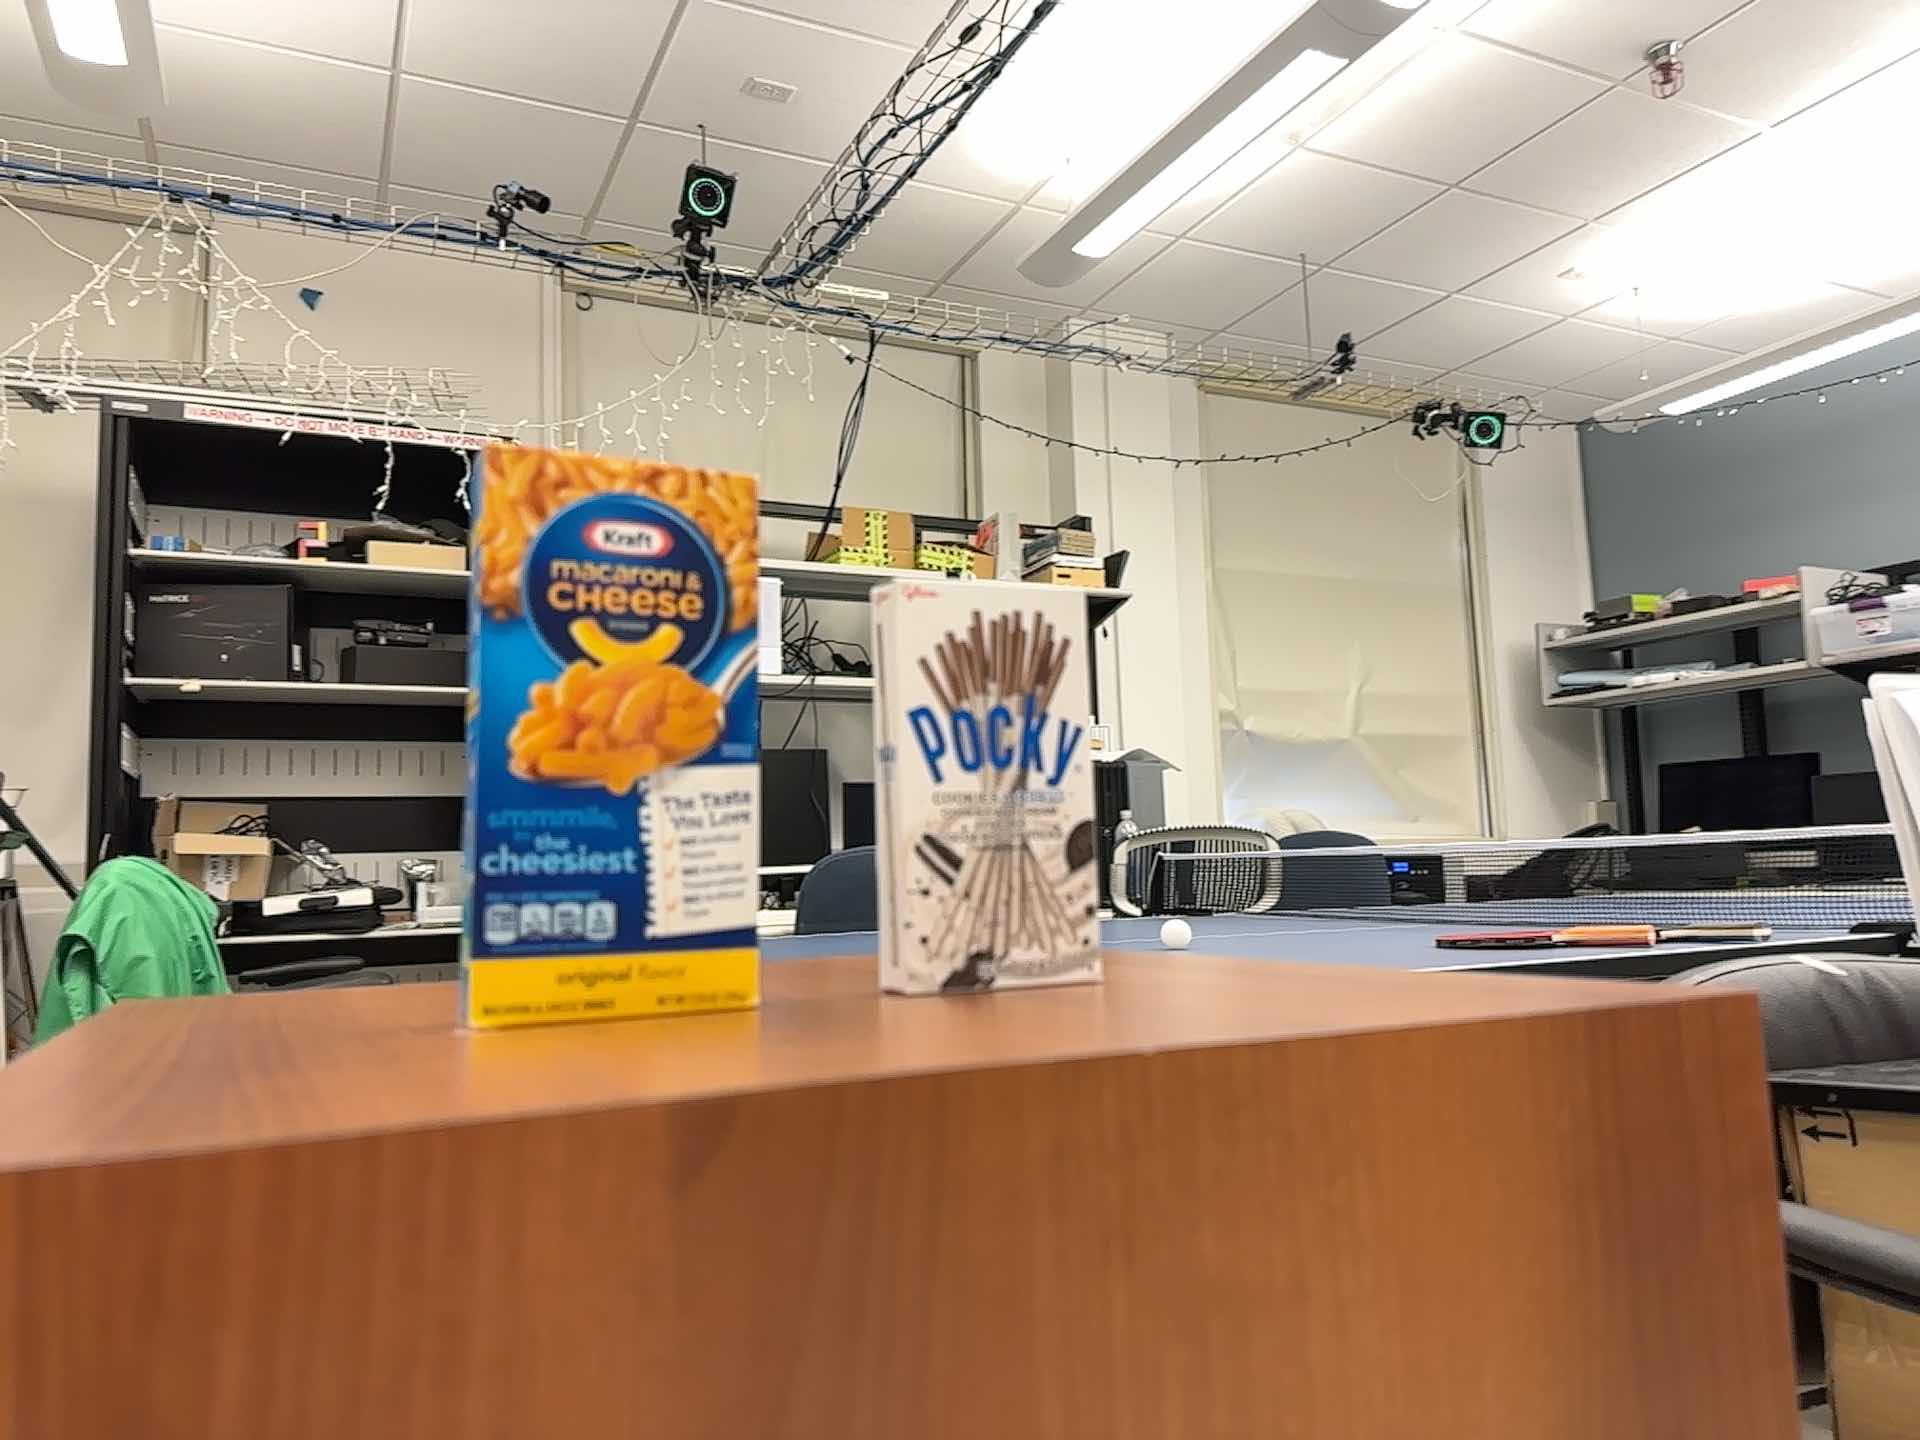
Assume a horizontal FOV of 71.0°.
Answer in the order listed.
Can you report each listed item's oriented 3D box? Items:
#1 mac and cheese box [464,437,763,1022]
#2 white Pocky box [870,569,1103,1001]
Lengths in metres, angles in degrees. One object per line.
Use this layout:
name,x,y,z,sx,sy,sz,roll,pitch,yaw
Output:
mac and cheese box,-0.114,0.004,0.448,0.088,0.181,0.035,1,-8,-22
white Pocky box,0.010,0.024,0.495,0.084,0.154,0.028,2,-7,-19
